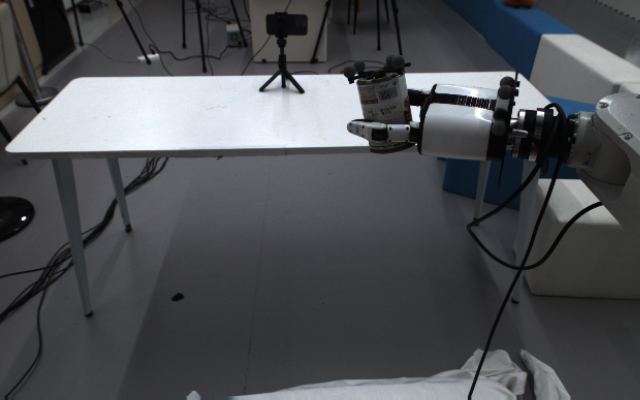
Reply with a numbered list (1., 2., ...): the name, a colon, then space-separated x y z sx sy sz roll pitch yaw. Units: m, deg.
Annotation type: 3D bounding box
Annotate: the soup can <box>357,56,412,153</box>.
1. soup can: 0.095 -0.124 0.673 0.067 0.101 0.067 -13 20 5
